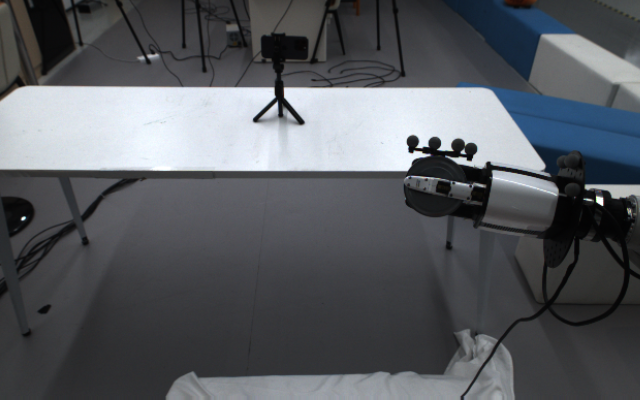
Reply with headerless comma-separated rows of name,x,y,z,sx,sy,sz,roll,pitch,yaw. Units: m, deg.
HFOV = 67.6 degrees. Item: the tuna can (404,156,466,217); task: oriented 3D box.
tuna can,0.162,-0.023,0.679,0.085,0.085,0.034,11,2,12
